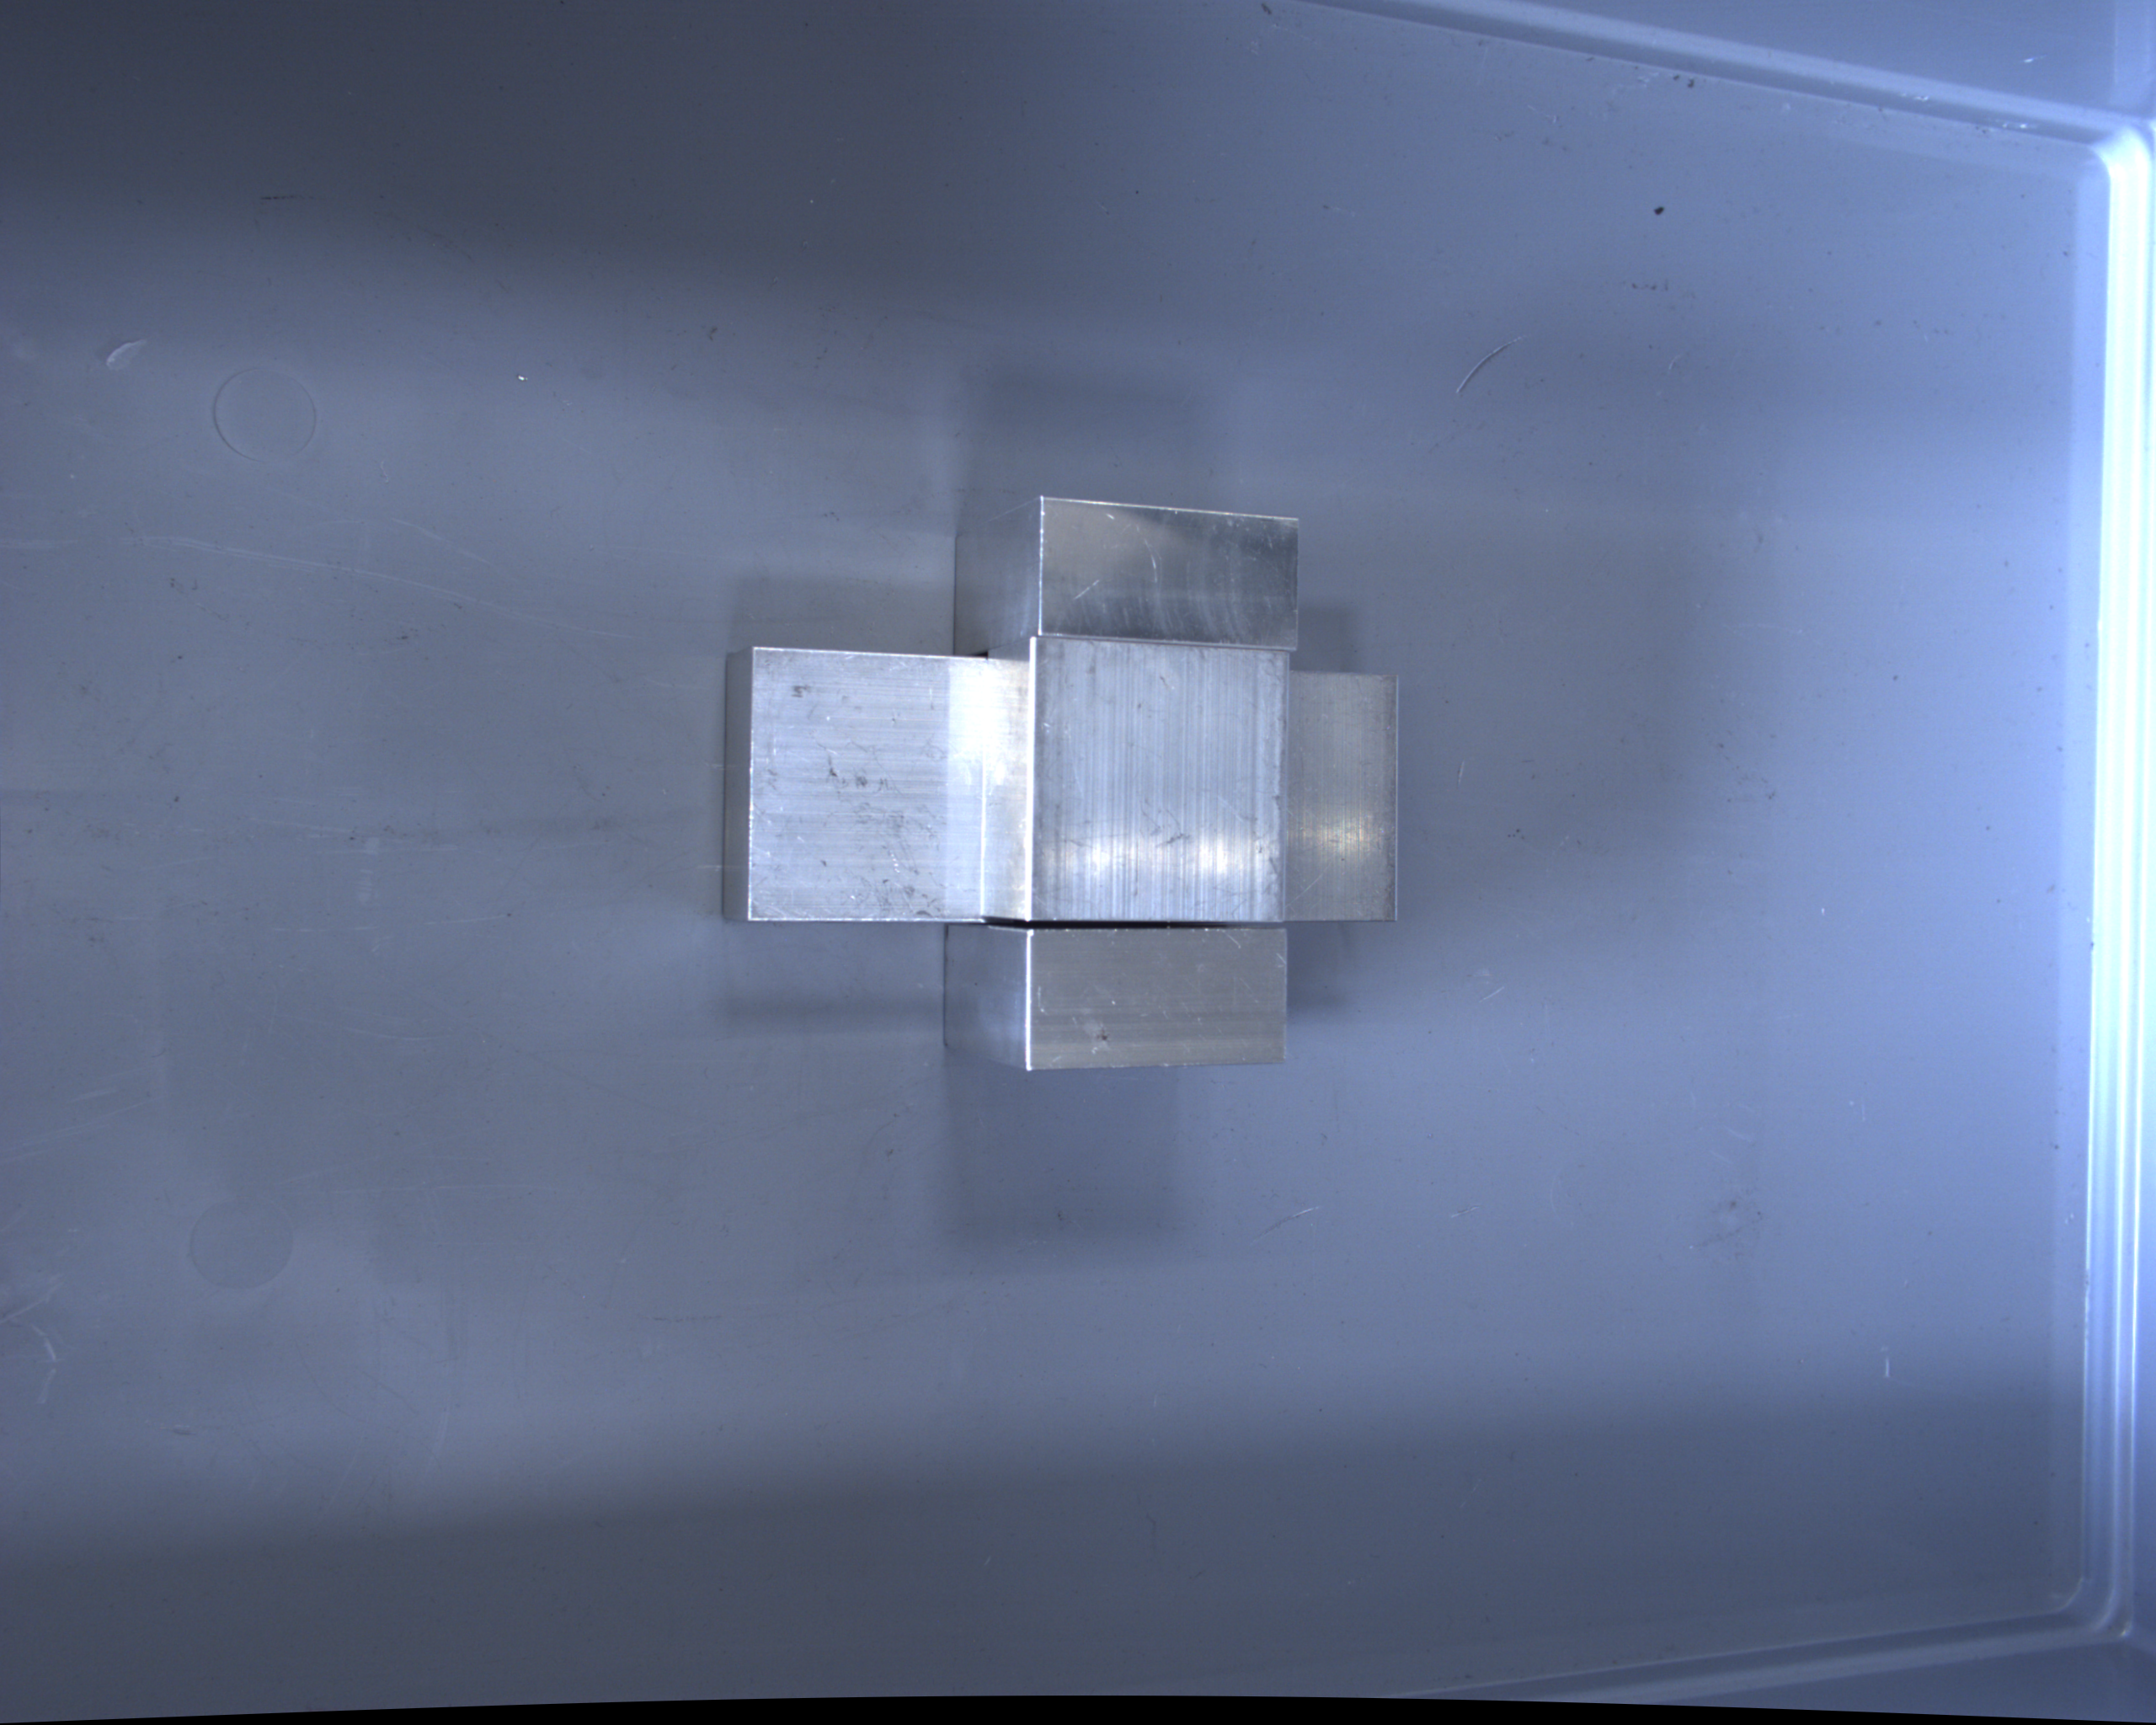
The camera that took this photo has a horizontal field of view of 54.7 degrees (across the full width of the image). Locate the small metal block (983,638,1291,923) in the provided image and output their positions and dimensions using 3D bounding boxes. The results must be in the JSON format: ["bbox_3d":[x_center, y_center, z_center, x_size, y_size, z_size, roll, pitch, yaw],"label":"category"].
[{"bbox_3d":[0.011,-0.014,0.385,0.050,0.025,0.050,1,90,-20],"label":"small metal block"}]

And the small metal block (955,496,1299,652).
[{"bbox_3d":[0.008,-0.052,0.398,0.050,0.050,0.025,1,90,-20],"label":"small metal block"}]

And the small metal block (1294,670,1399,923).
[{"bbox_3d":[0.036,-0.013,0.422,0.050,0.025,0.050,1,90,-20],"label":"small metal block"}]

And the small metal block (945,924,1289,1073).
[{"bbox_3d":[0.006,0.024,0.396,0.050,0.050,0.025,1,90,-20],"label":"small metal block"}]

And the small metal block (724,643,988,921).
[{"bbox_3d":[-0.039,-0.014,0.394,0.050,0.025,0.050,1,90,-20],"label":"small metal block"}]
